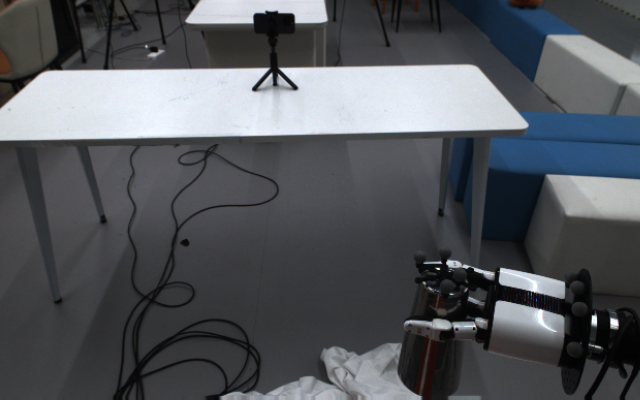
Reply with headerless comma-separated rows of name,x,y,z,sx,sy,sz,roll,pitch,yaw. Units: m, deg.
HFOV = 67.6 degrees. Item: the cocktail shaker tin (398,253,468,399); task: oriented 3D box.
cocktail shaker tin,0.165,0.179,0.687,0.093,0.170,0.093,2,27,-1
